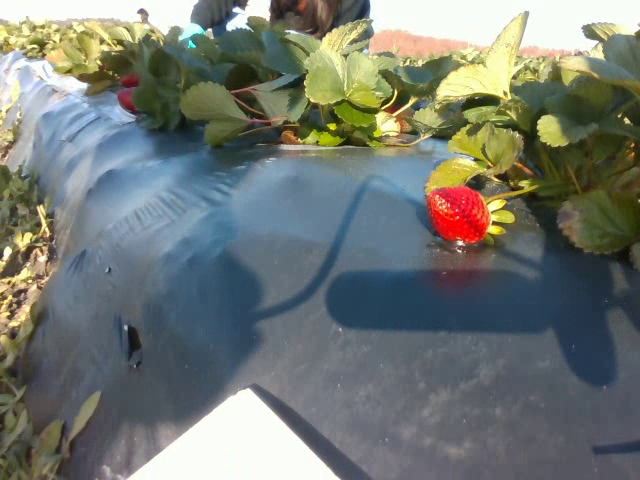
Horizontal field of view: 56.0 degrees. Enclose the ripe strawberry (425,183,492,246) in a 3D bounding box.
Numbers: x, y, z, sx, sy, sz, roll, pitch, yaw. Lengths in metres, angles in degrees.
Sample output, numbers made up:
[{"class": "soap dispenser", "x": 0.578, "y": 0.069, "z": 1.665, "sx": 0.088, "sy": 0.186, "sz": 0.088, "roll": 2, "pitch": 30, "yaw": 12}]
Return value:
[{"class": "ripe strawberry", "x": 0.056, "y": -0.012, "z": 0.248, "sx": 0.028, "sy": 0.031, "sz": 0.041, "roll": -6, "pitch": -24, "yaw": 39}]
